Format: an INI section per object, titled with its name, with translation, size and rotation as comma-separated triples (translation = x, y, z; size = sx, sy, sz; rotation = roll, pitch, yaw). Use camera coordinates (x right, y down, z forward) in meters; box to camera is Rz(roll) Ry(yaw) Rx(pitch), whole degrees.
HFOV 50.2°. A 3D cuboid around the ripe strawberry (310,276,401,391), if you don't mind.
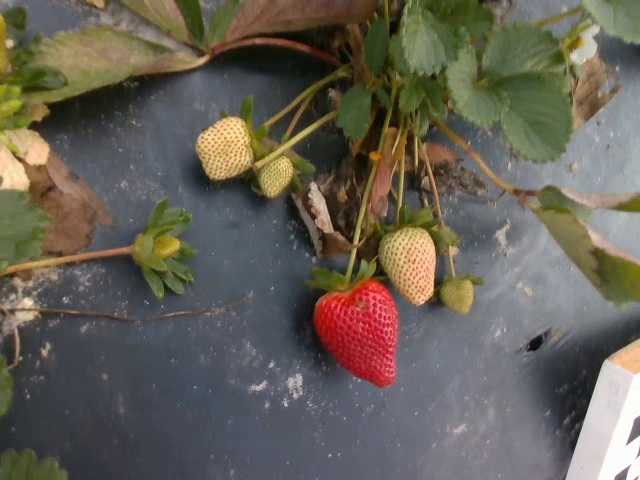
[ripe strawberry]
translation = 0.022, 0.046, 0.333
size = 0.050, 0.059, 0.034
rotation = -24, -13, -26
